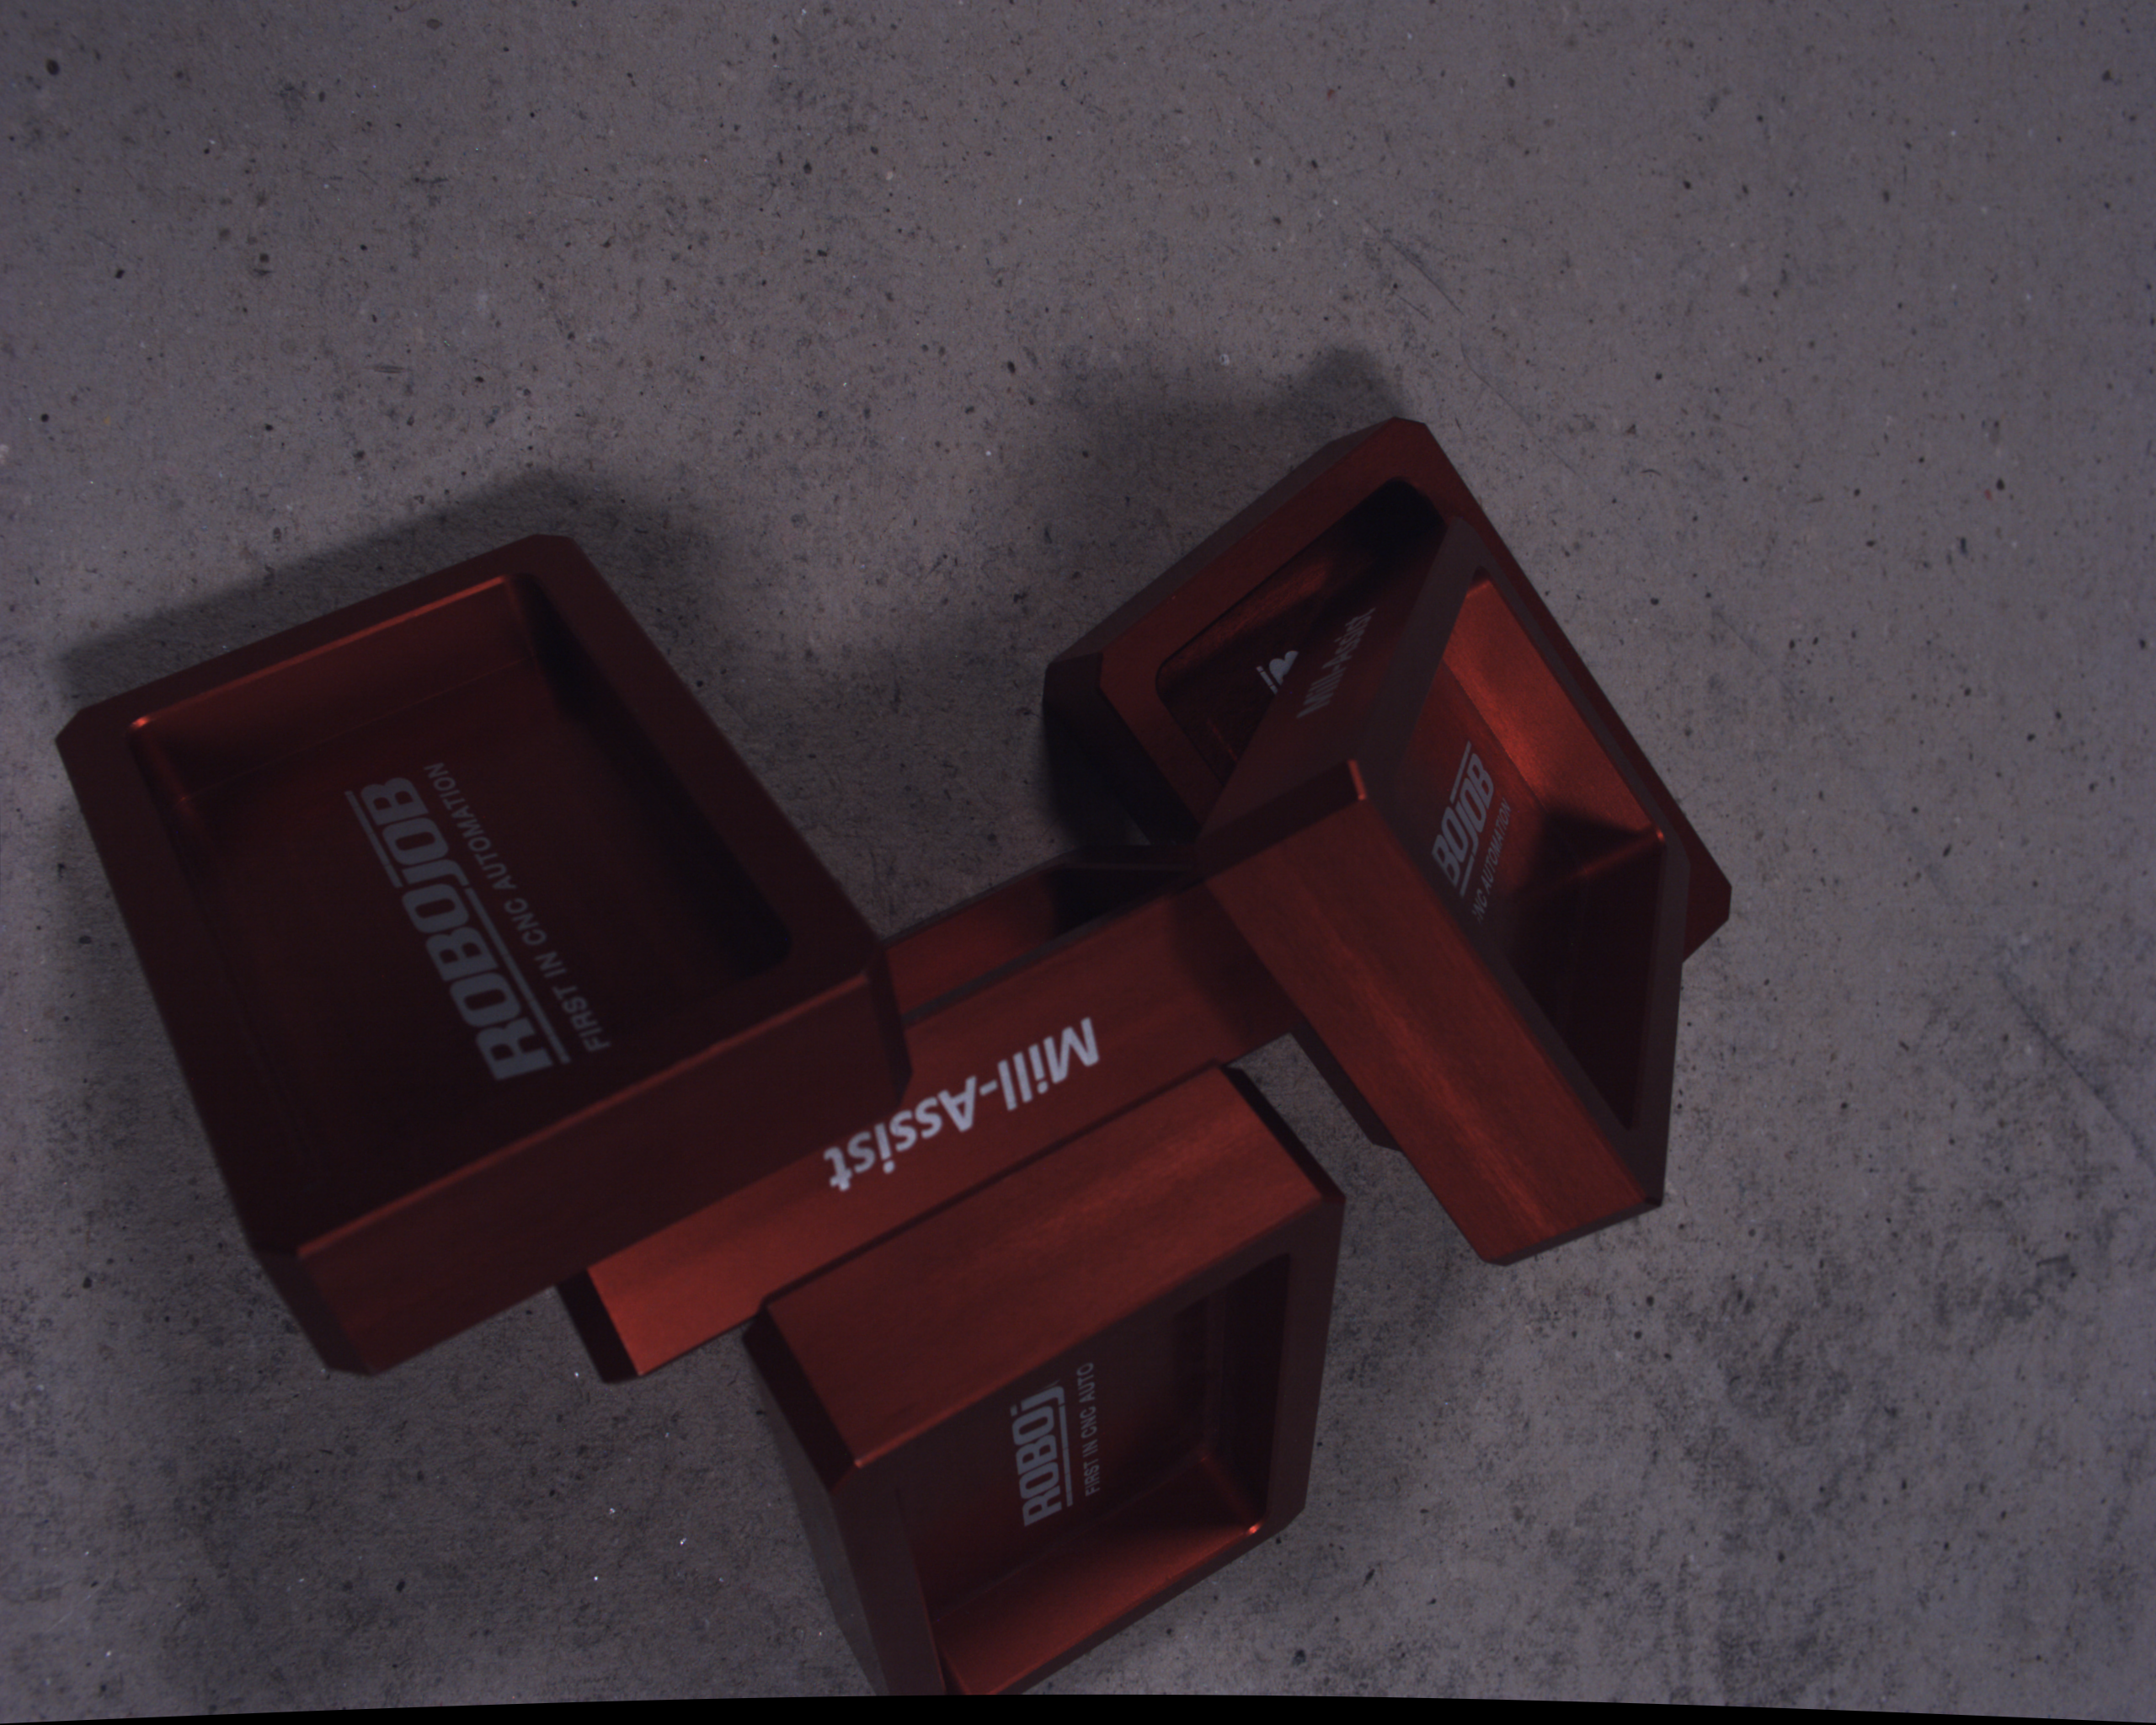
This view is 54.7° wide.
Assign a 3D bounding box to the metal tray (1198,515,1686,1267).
[{"bbox_3d":[0.073,-0.001,0.379,0.090,0.030,0.130,54,29,-13],"label":"metal tray"}]

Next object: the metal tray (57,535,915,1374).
[{"bbox_3d":[-0.095,0.005,0.325,0.091,0.130,0.030,-26,138,-19],"label":"metal tray"}]

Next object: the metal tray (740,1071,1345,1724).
[{"bbox_3d":[-0.002,0.100,0.364,0.091,0.030,0.129,-26,144,-18],"label":"metal tray"}]

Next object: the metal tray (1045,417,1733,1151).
[{"bbox_3d":[0.067,-0.014,0.433,0.090,0.030,0.130,-40,103,-16],"label":"metal tray"}]

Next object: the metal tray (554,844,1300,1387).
[{"bbox_3d":[-0.033,0.037,0.364,0.131,0.090,0.030,-26,99,-18],"label":"metal tray"}]
